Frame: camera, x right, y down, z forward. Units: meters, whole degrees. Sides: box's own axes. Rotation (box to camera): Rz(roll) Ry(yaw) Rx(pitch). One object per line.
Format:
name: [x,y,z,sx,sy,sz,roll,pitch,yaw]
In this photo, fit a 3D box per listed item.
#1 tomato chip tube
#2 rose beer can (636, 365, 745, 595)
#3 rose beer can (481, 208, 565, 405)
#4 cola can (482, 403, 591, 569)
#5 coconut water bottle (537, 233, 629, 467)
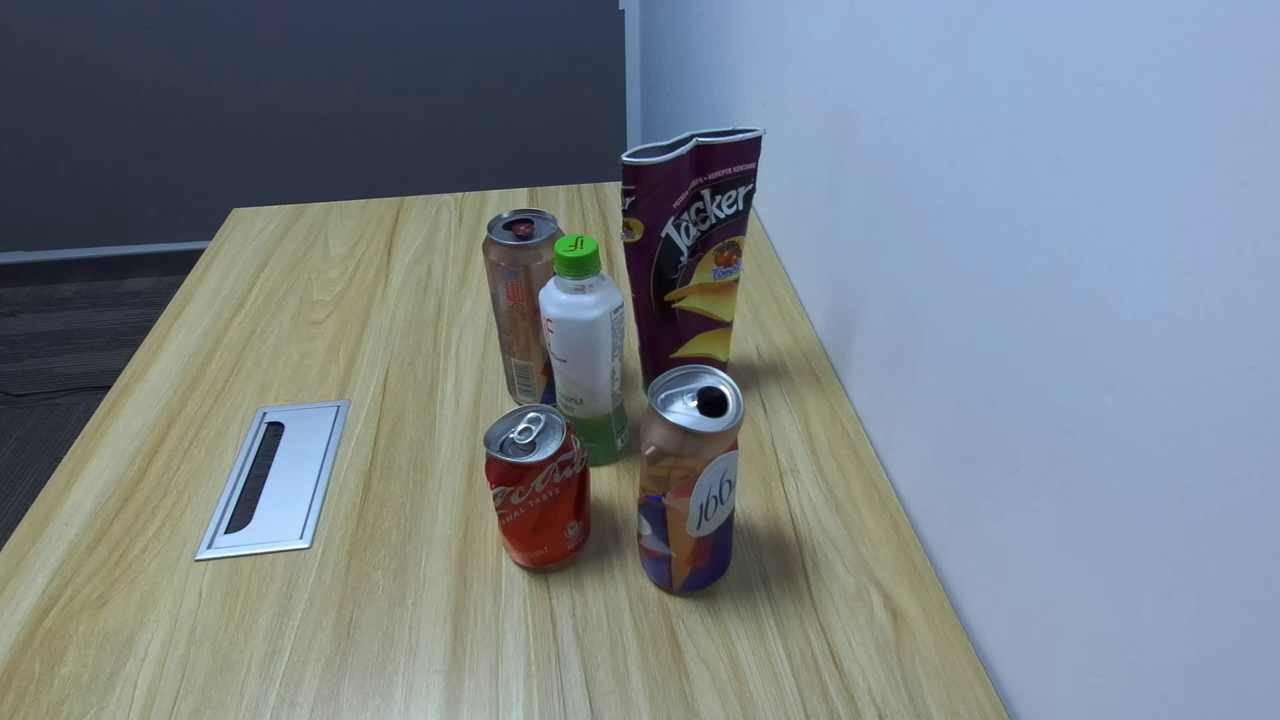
tomato chip tube: [0.037,-0.063,0.569,0.090,0.236,0.078,12,42,12]
rose beer can: [0.031,0.080,0.455,0.068,0.162,0.073,-4,42,-3]
rose beer can: [-0.088,-0.037,0.595,0.068,0.169,0.068,-3,33,2]
cola can: [-0.070,0.088,0.491,0.069,0.112,0.065,-16,41,-17]
coconut water bottle: [-0.042,-0.004,0.534,0.063,0.189,0.063,-1,38,1]
